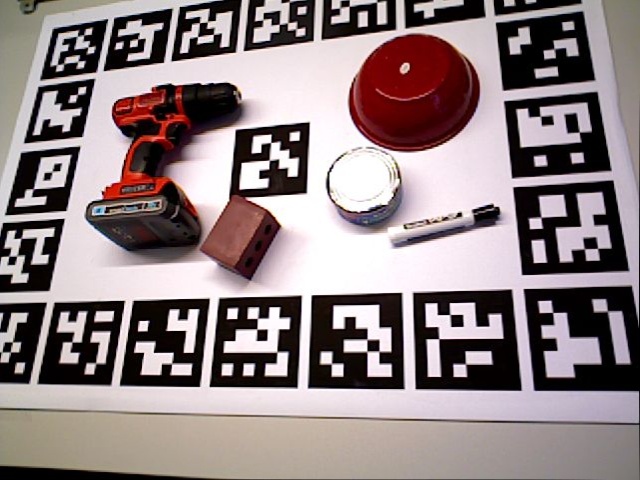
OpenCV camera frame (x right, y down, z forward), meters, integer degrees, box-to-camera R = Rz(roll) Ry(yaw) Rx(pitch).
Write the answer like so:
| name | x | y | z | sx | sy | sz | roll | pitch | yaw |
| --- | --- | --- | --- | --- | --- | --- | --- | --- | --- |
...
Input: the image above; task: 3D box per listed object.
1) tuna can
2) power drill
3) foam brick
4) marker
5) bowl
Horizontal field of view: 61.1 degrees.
| name | x | y | z | sx | sy | sz | roll | pitch | yaw |
| --- | --- | --- | --- | --- | --- | --- | --- | --- | --- |
| tuna can | 0.056 | -0.060 | 0.611 | 0.086 | 0.034 | 0.085 | -4 | 69 | 10 |
| power drill | -0.197 | -0.094 | 0.681 | 0.185 | 0.058 | 0.185 | -4 | 67 | 9 |
| foam brick | -0.086 | 0.005 | 0.621 | 0.051 | 0.053 | 0.077 | 21 | 77 | 19 |
| marker | 0.140 | -0.014 | 0.579 | 0.121 | 0.020 | 0.019 | -13 | 68 | 9 |
| bowl | 0.107 | -0.184 | 0.643 | 0.162 | 0.055 | 0.159 | -8 | 61 | 14 |
